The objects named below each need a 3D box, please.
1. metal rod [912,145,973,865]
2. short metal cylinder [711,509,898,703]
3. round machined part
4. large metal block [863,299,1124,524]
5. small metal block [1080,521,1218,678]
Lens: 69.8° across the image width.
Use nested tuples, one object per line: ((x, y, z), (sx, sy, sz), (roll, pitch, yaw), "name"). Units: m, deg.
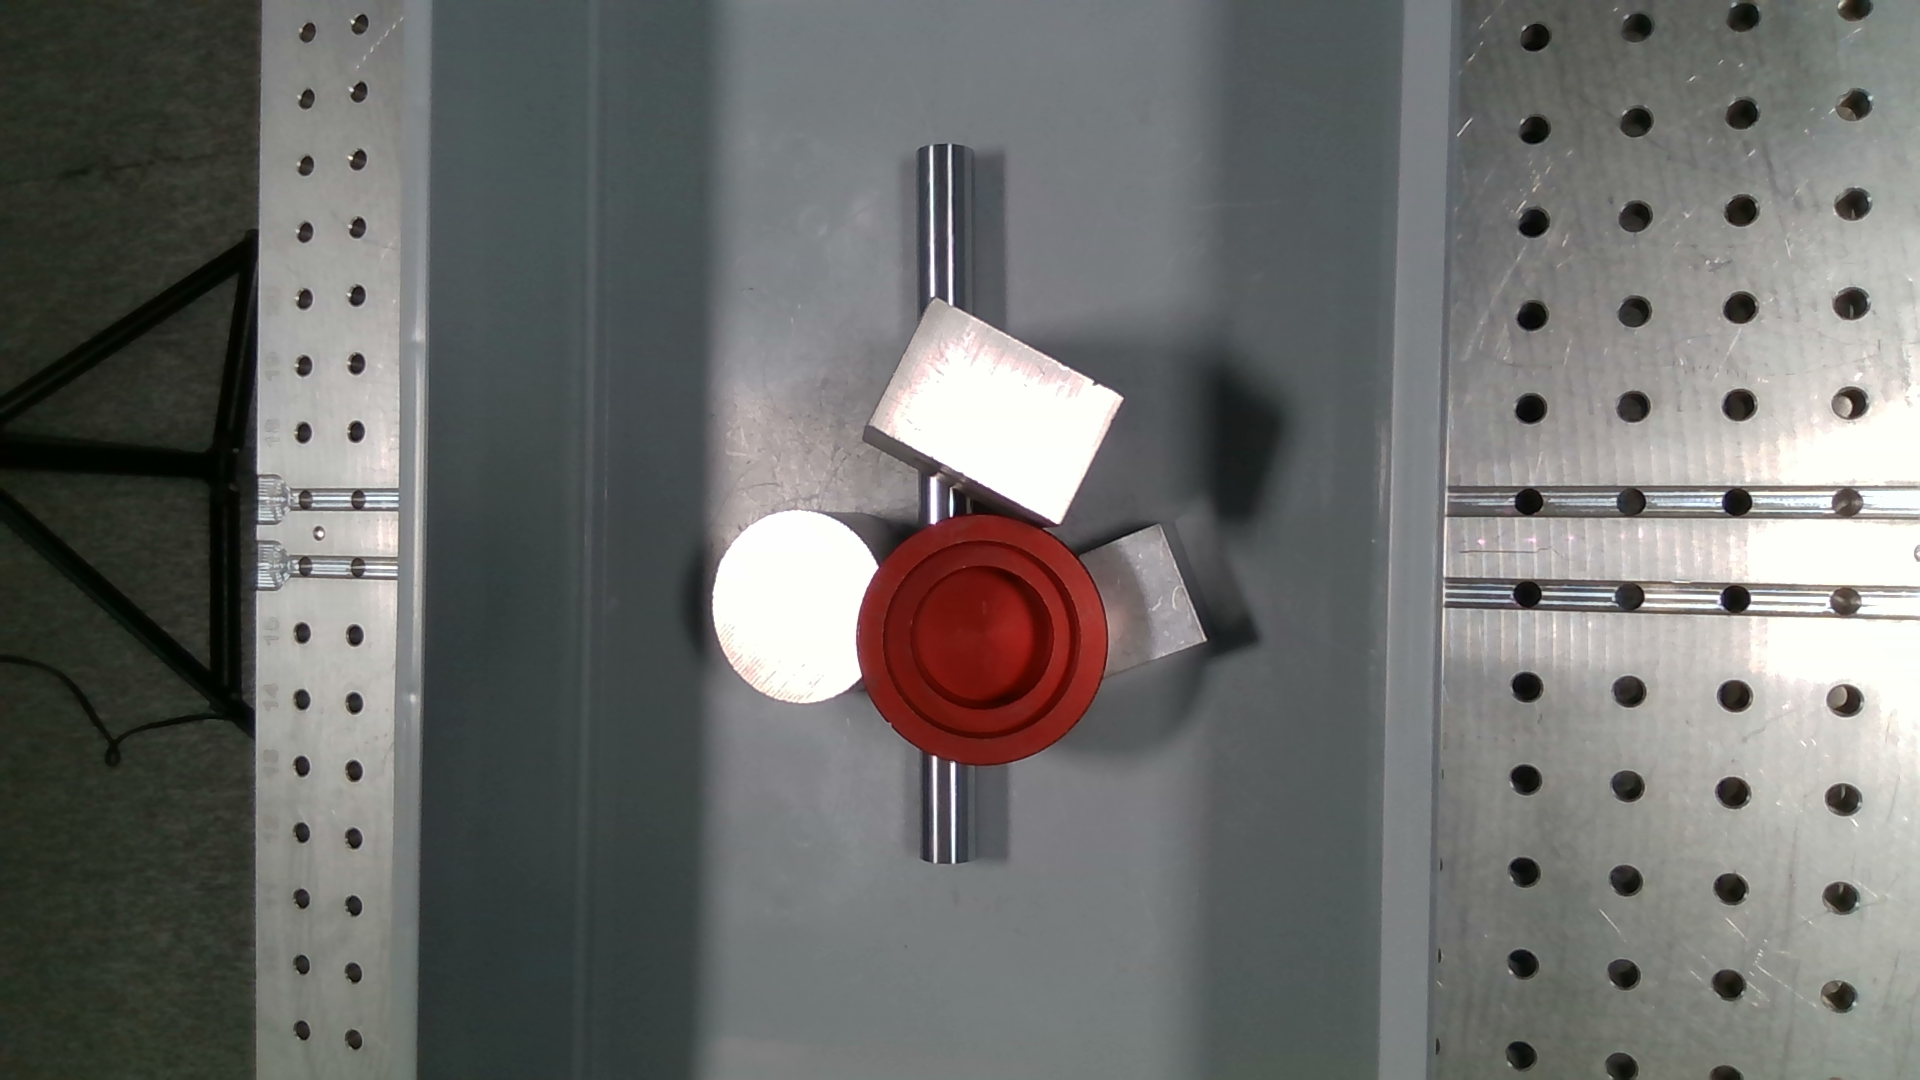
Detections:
((-0.007, -0.014, 0.585), (0.025, 0.025, 0.300), (0, 91, 20), "metal rod")
((-0.059, 0.027, 0.592), (0.080, 0.050, 0.080), (0, 90, 20), "short metal cylinder")
((0.009, 0.039, 0.552), (0.098, 0.042, 0.098), (0, 90, 3), "round machined part")
((0.009, -0.046, 0.536), (0.080, 0.080, 0.050), (27, 88, -5), "large metal block")
((0.070, 0.025, 0.559), (0.050, 0.025, 0.050), (-22, 83, 19), "small metal block")
